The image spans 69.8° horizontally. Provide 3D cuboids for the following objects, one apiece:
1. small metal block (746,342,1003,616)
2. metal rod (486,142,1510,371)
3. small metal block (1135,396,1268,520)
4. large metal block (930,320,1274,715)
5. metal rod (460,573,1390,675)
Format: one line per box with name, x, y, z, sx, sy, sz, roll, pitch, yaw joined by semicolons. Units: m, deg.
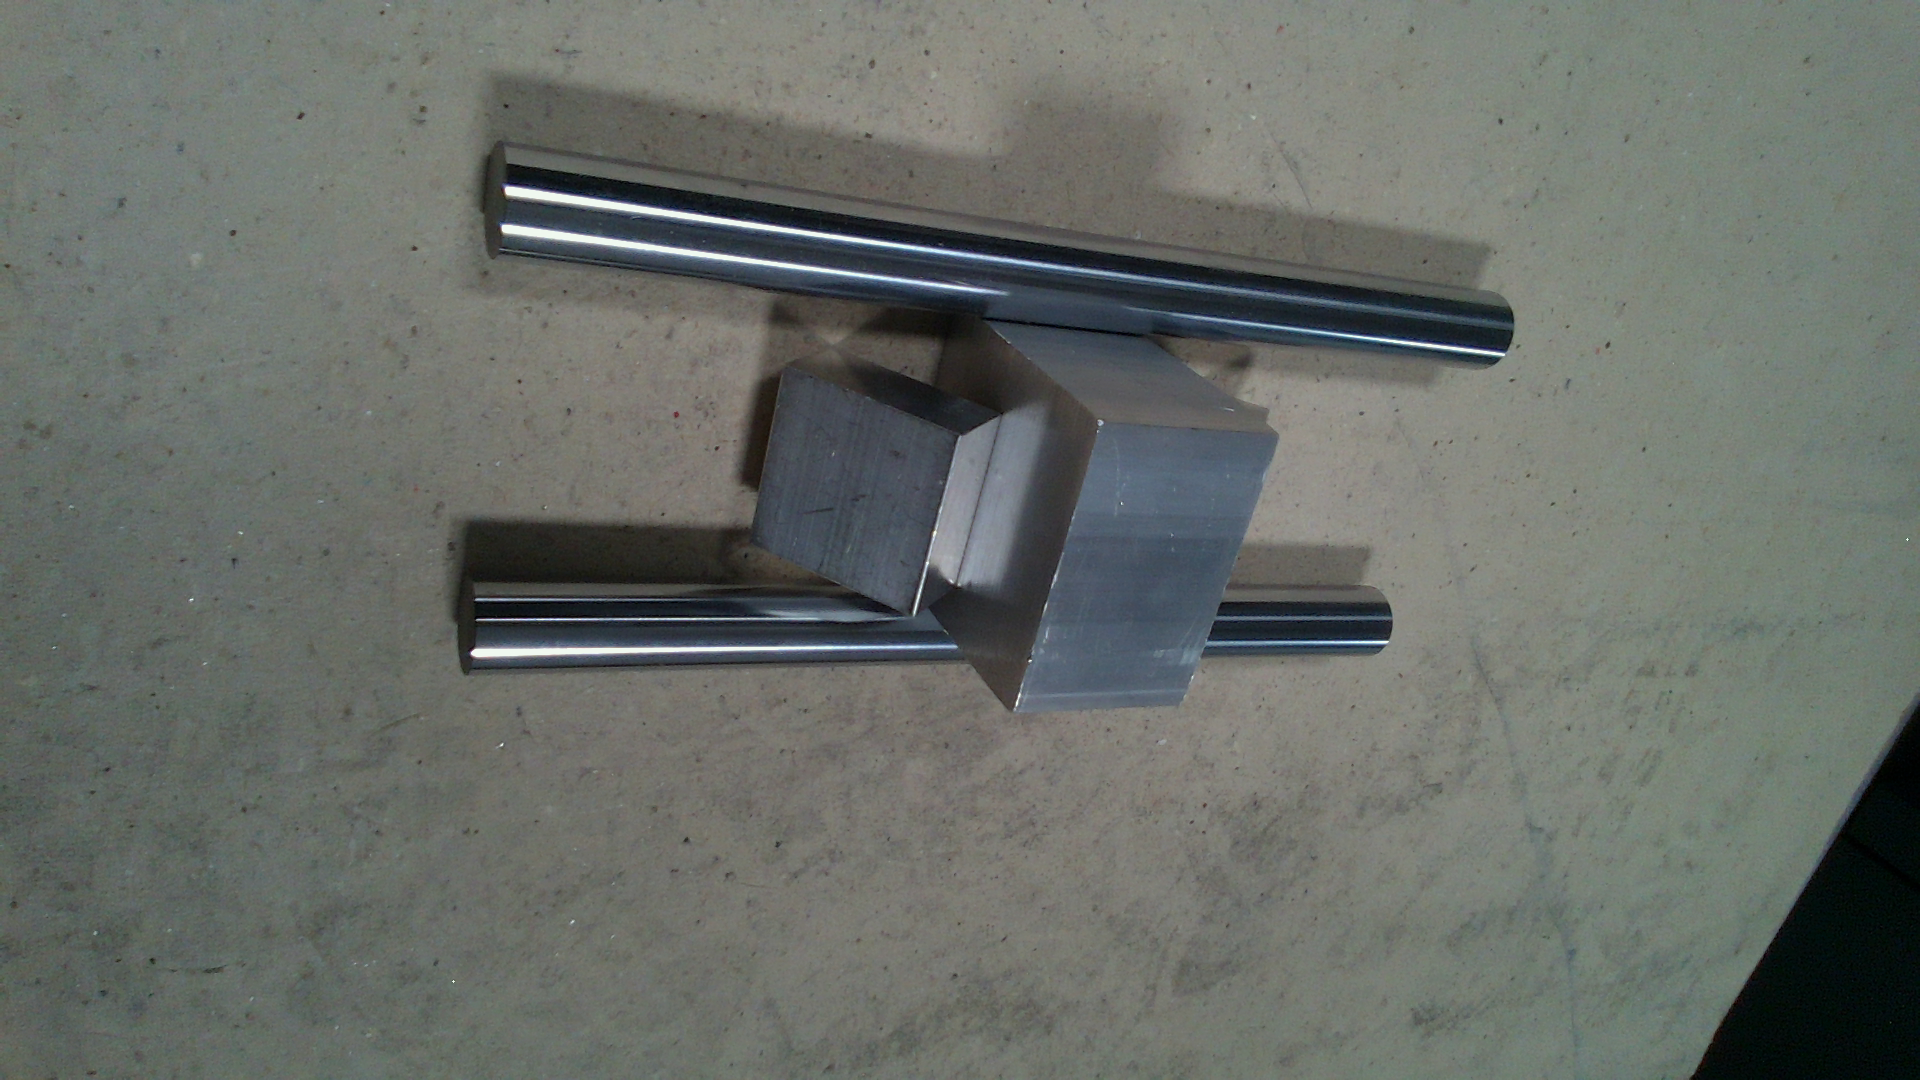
small metal block;-0.022;-0.016;0.350;0.025;0.050;0.050;-35;145;-59
metal rod;0.033;-0.069;0.365;0.301;0.025;0.025;1;118;-29
small metal block;0.068;-0.013;0.400;0.025;0.050;0.050;19;114;9
large metal block;0.027;-0.011;0.365;0.050;0.080;0.080;1;118;-29
metal rod;0.010;0.024;0.410;0.301;0.025;0.025;2;118;-29
